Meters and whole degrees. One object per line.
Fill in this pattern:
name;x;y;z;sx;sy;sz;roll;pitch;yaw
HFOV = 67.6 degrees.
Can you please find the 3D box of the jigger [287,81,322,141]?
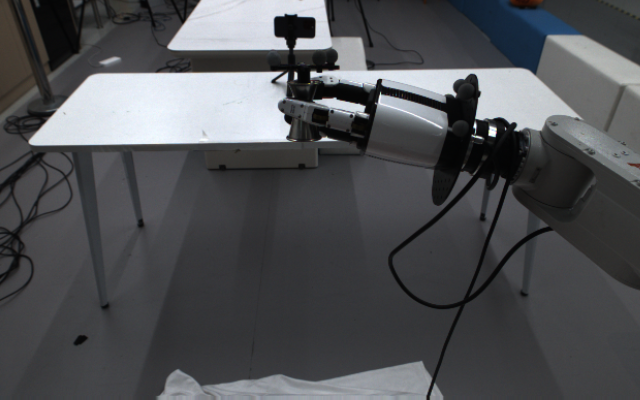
jigger;-0.020;-0.108;0.585;0.043;0.071;0.043;0;21;0
